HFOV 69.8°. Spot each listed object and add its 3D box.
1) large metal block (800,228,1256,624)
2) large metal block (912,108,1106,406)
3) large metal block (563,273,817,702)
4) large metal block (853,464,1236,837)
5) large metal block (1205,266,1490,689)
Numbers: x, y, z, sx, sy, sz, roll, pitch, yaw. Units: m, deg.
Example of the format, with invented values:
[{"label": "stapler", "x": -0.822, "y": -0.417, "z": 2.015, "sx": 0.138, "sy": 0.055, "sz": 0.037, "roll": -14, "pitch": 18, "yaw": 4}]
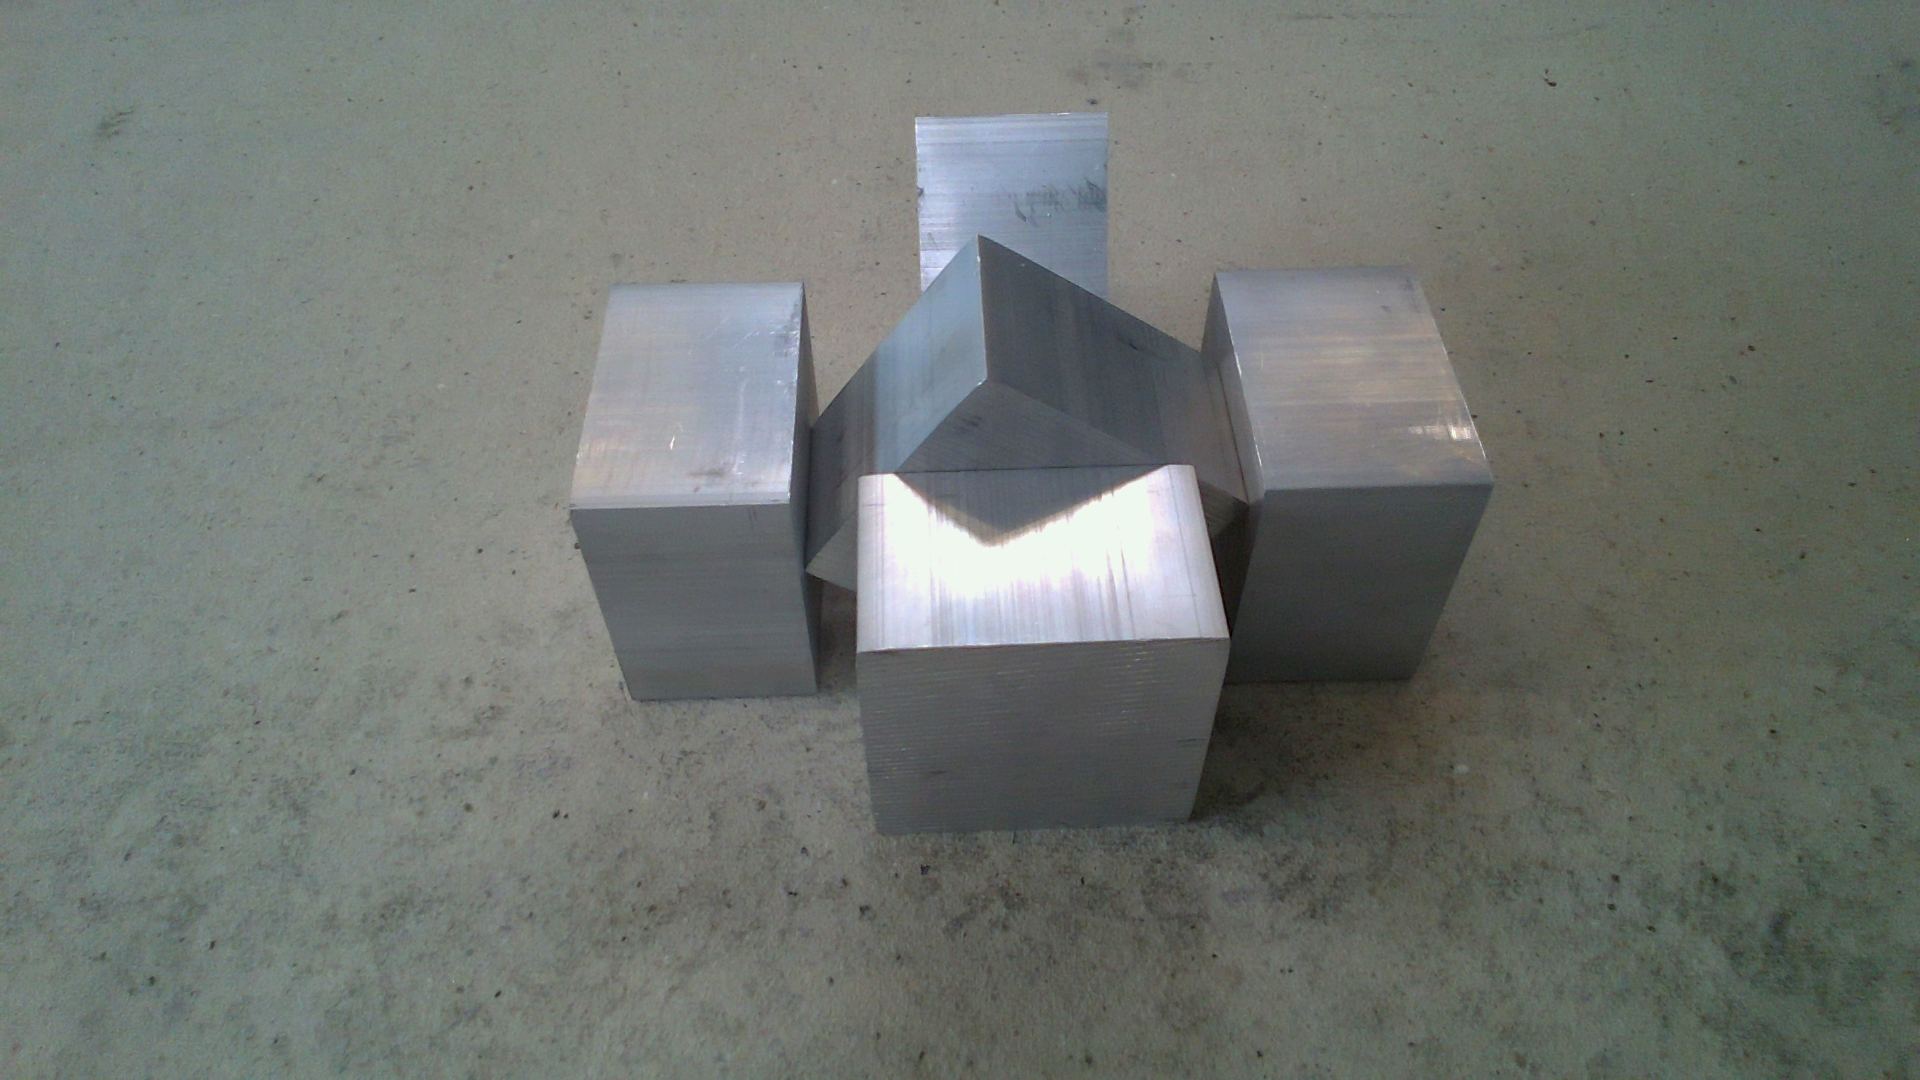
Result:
[{"label": "large metal block", "x": 0.015, "y": -0.019, "z": 0.353, "sx": 0.080, "sy": 0.080, "sz": 0.050, "roll": 23, "pitch": 43, "yaw": -27}, {"label": "large metal block", "x": 0.013, "y": -0.081, "z": 0.405, "sx": 0.050, "sy": 0.080, "sz": 0.080, "roll": -2, "pitch": 12, "yaw": -1}, {"label": "large metal block", "x": -0.065, "y": -0.013, "z": 0.366, "sx": 0.050, "sy": 0.080, "sz": 0.080, "roll": -1, "pitch": 50, "yaw": -1}, {"label": "large metal block", "x": 0.017, "y": 0.029, "z": 0.333, "sx": 0.080, "sy": 0.080, "sz": 0.050, "roll": -2, "pitch": 50, "yaw": -2}, {"label": "large metal block", "x": 0.095, "y": -0.016, "z": 0.370, "sx": 0.050, "sy": 0.080, "sz": 0.080, "roll": -1, "pitch": 49, "yaw": -2}]
